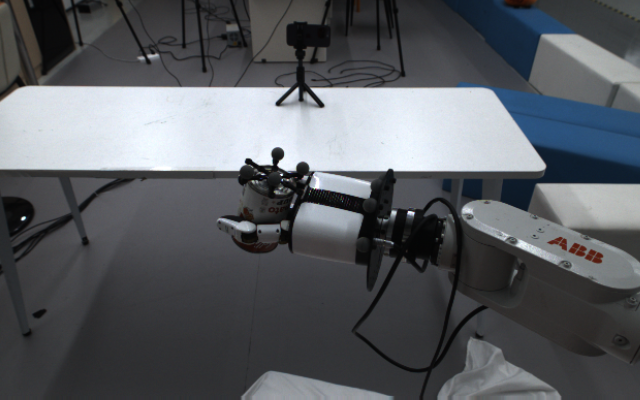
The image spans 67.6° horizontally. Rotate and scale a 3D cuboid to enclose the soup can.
[{"bbox_3d":[-0.075,0.013,0.645,0.067,0.101,0.067,14,35,-10],"label":"soup can"}]
